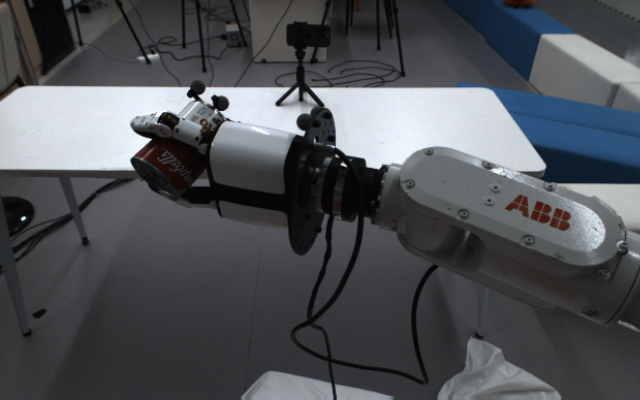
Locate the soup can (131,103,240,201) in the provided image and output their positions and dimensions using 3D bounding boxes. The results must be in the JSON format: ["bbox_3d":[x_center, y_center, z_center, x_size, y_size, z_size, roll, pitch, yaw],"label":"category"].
[{"bbox_3d":[-0.155,-0.058,0.555,0.067,0.067,0.101,22,61,27],"label":"soup can"}]
